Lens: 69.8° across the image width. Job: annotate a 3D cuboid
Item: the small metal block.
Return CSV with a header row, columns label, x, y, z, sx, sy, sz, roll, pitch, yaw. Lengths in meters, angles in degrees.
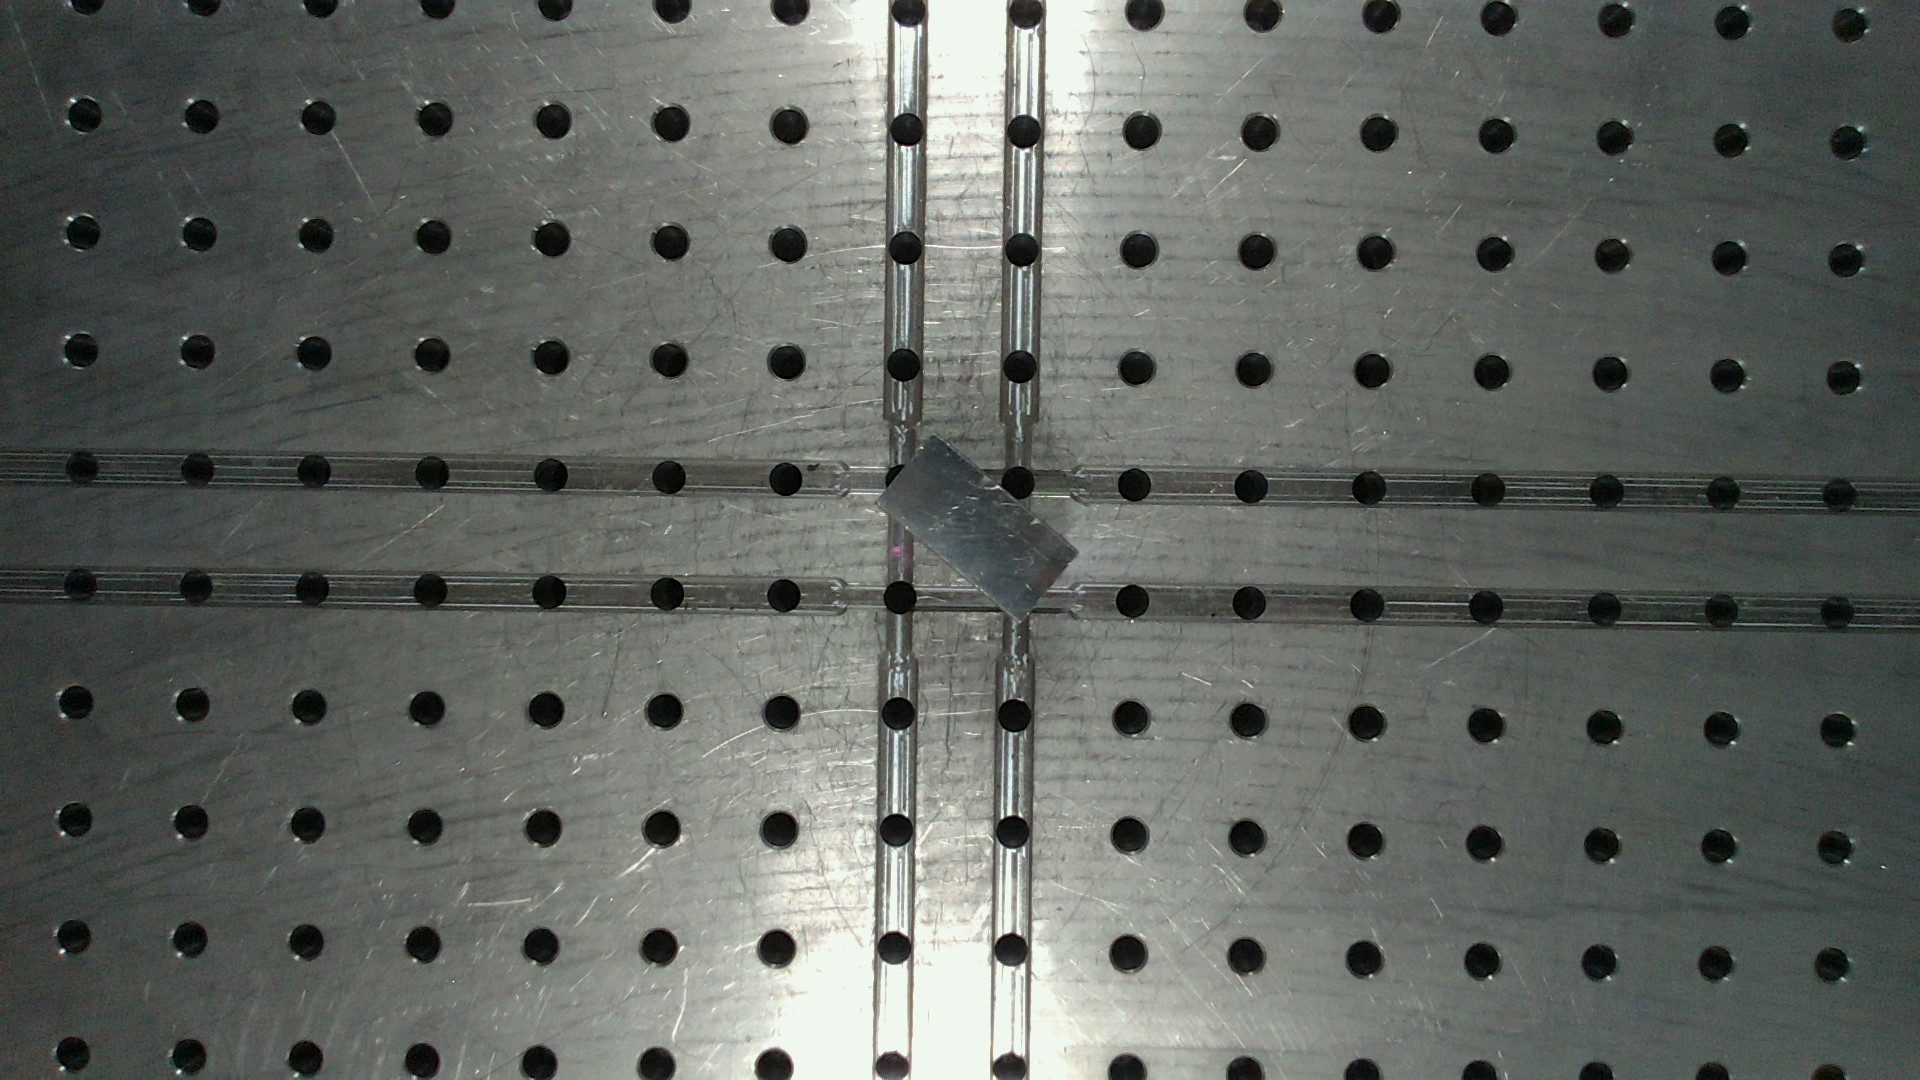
label,x,y,z,sx,sy,sz,roll,pitch,yaw
small metal block,0.005,-0.003,0.385,0.050,0.050,0.025,40,90,0
